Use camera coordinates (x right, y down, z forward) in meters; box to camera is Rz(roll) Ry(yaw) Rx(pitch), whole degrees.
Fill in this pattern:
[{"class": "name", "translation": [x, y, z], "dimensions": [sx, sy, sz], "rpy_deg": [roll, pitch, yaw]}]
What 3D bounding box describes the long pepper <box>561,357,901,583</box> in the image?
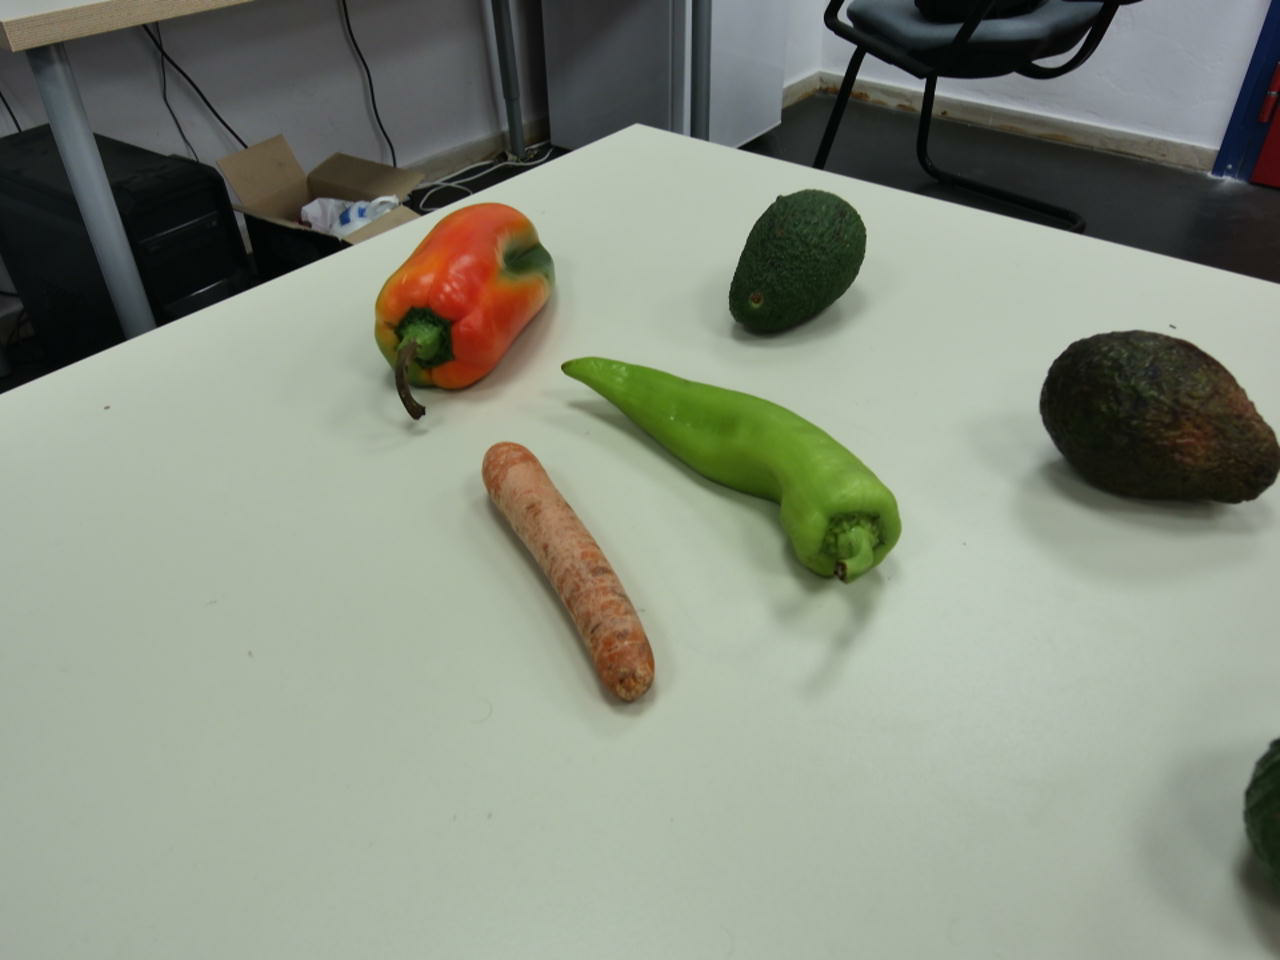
[{"class": "long pepper", "translation": [0.043, -0.016, 0.449], "dimensions": [0.065, 0.045, 0.204], "rpy_deg": [-22, 41, -26]}]
